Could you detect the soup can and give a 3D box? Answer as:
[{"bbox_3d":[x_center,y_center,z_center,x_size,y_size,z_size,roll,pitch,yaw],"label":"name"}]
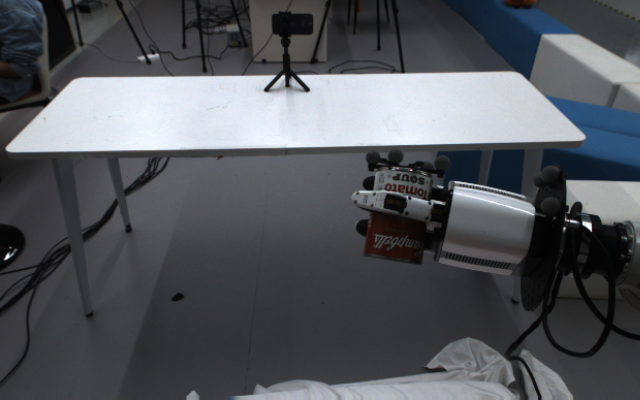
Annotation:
[{"bbox_3d":[0.091,0.019,0.551,0.067,0.101,0.067,9,-7,1],"label":"soup can"}]
